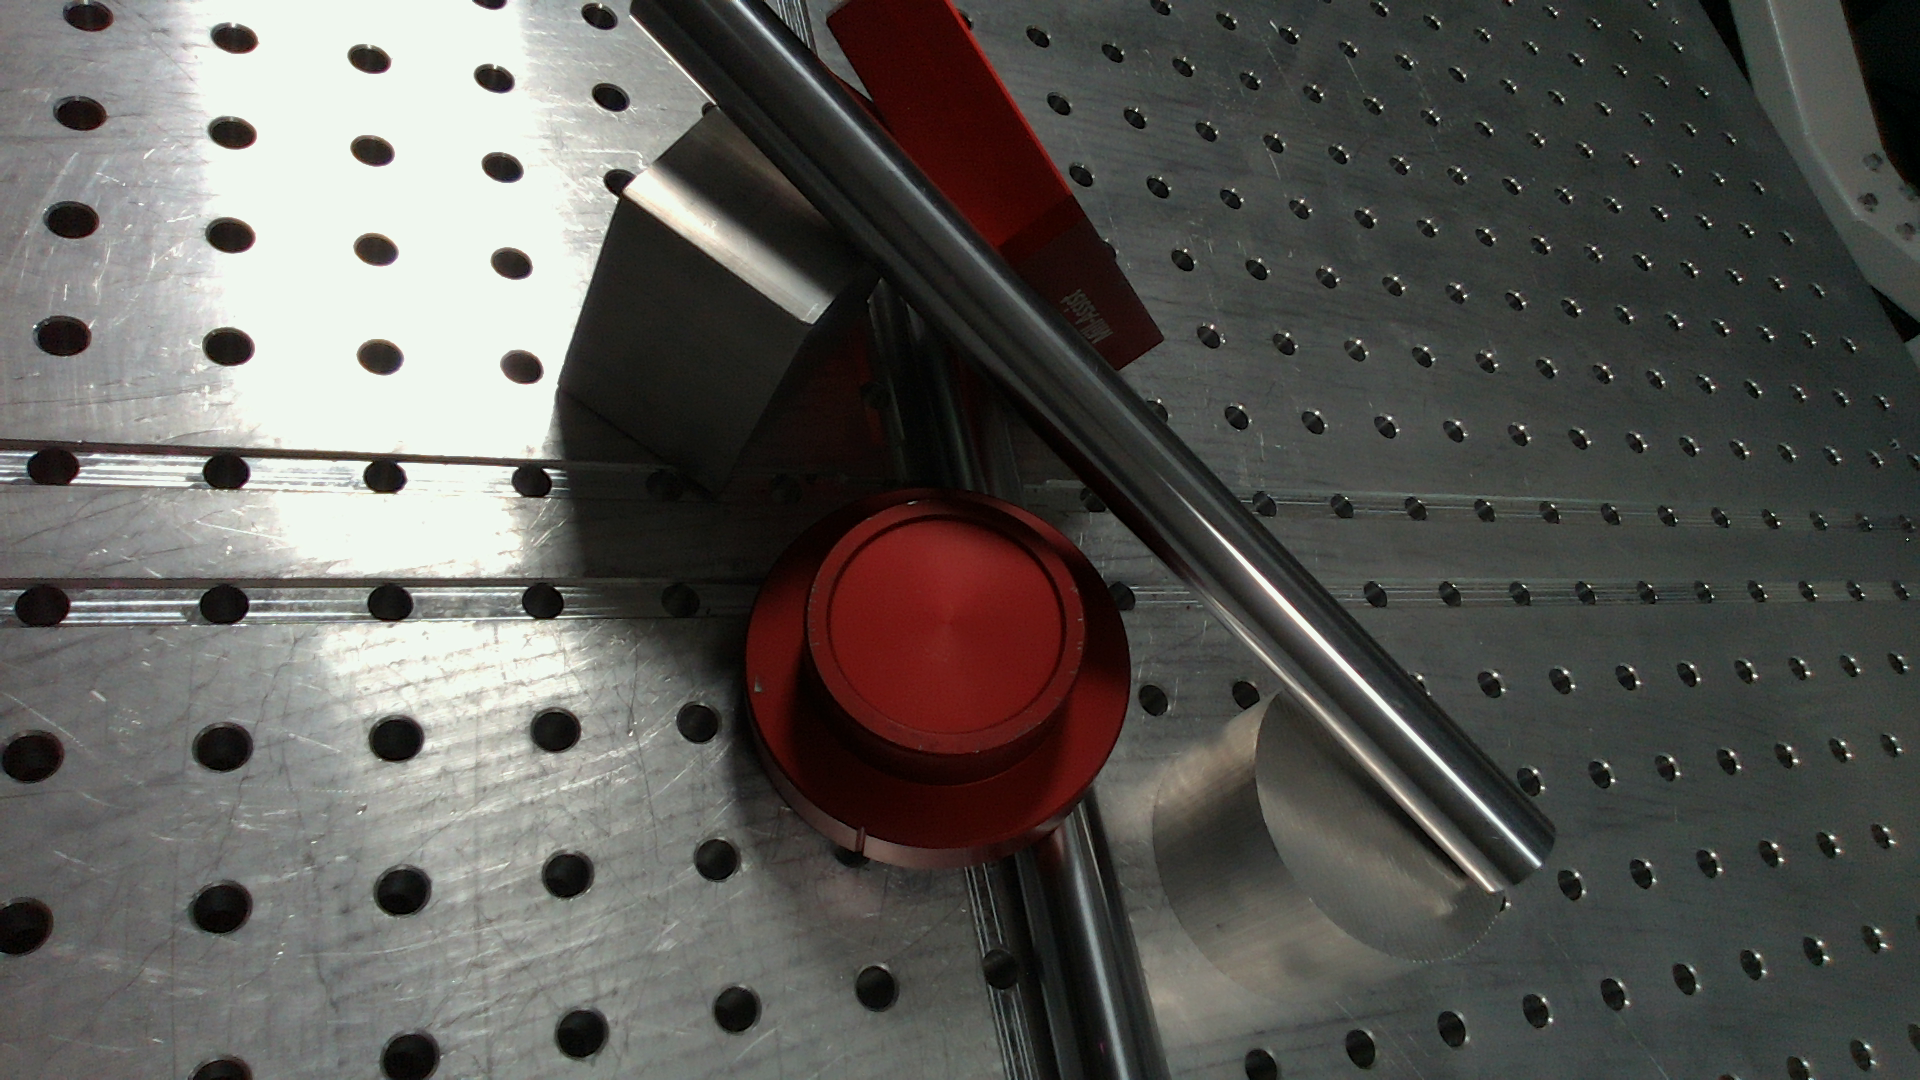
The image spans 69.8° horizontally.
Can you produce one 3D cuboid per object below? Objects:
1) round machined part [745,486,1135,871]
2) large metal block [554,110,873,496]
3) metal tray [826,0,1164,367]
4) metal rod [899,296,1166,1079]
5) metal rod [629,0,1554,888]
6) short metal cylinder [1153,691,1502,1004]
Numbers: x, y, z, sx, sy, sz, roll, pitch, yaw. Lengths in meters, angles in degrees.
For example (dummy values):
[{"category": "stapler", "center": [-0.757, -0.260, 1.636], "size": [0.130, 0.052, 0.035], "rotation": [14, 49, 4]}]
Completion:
[{"category": "round machined part", "center": [-0.004, 0.029, 0.342], "size": [0.098, 0.042, 0.098], "rotation": [4, 62, -7]}, {"category": "large metal block", "center": [-0.058, -0.072, 0.372], "size": [0.050, 0.080, 0.080], "rotation": [35, 51, -4]}, {"category": "metal tray", "center": [0.016, -0.103, 0.411], "size": [0.090, 0.030, 0.130], "rotation": [60, 12, 15]}, {"category": "metal rod", "center": [0.012, 0.015, 0.390], "size": [0.025, 0.025, 0.300], "rotation": [2, 61, -27]}, {"category": "metal rod", "center": [0.038, -0.025, 0.337], "size": [0.300, 0.025, 0.025], "rotation": [45, 51, -7]}, {"category": "short metal cylinder", "center": [0.101, 0.082, 0.381], "size": [0.080, 0.050, 0.080], "rotation": [14, 56, -21]}]
